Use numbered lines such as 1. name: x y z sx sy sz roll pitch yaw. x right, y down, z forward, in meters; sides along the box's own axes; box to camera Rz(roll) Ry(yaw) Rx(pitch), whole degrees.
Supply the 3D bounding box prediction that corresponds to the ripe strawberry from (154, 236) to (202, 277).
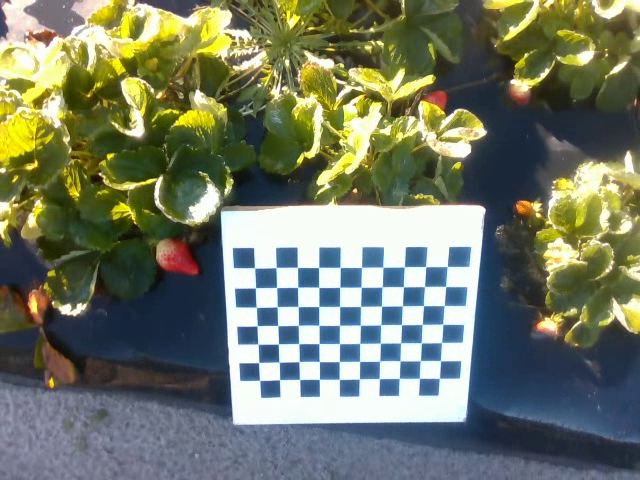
1. ripe strawberry: -0.174 0.028 0.738 0.065 0.040 0.040 39 11 -12
